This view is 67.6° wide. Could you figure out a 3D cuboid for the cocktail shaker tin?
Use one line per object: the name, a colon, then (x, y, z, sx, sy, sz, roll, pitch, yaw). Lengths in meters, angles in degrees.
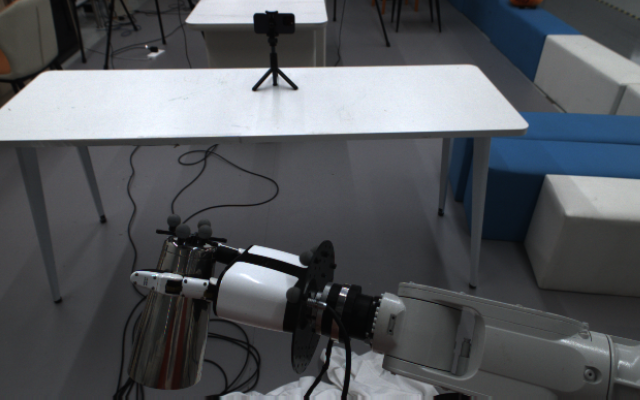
cocktail shaker tin: (-0.179, 0.136, 0.613, 0.093, 0.170, 0.093, 13, 3, -1)
